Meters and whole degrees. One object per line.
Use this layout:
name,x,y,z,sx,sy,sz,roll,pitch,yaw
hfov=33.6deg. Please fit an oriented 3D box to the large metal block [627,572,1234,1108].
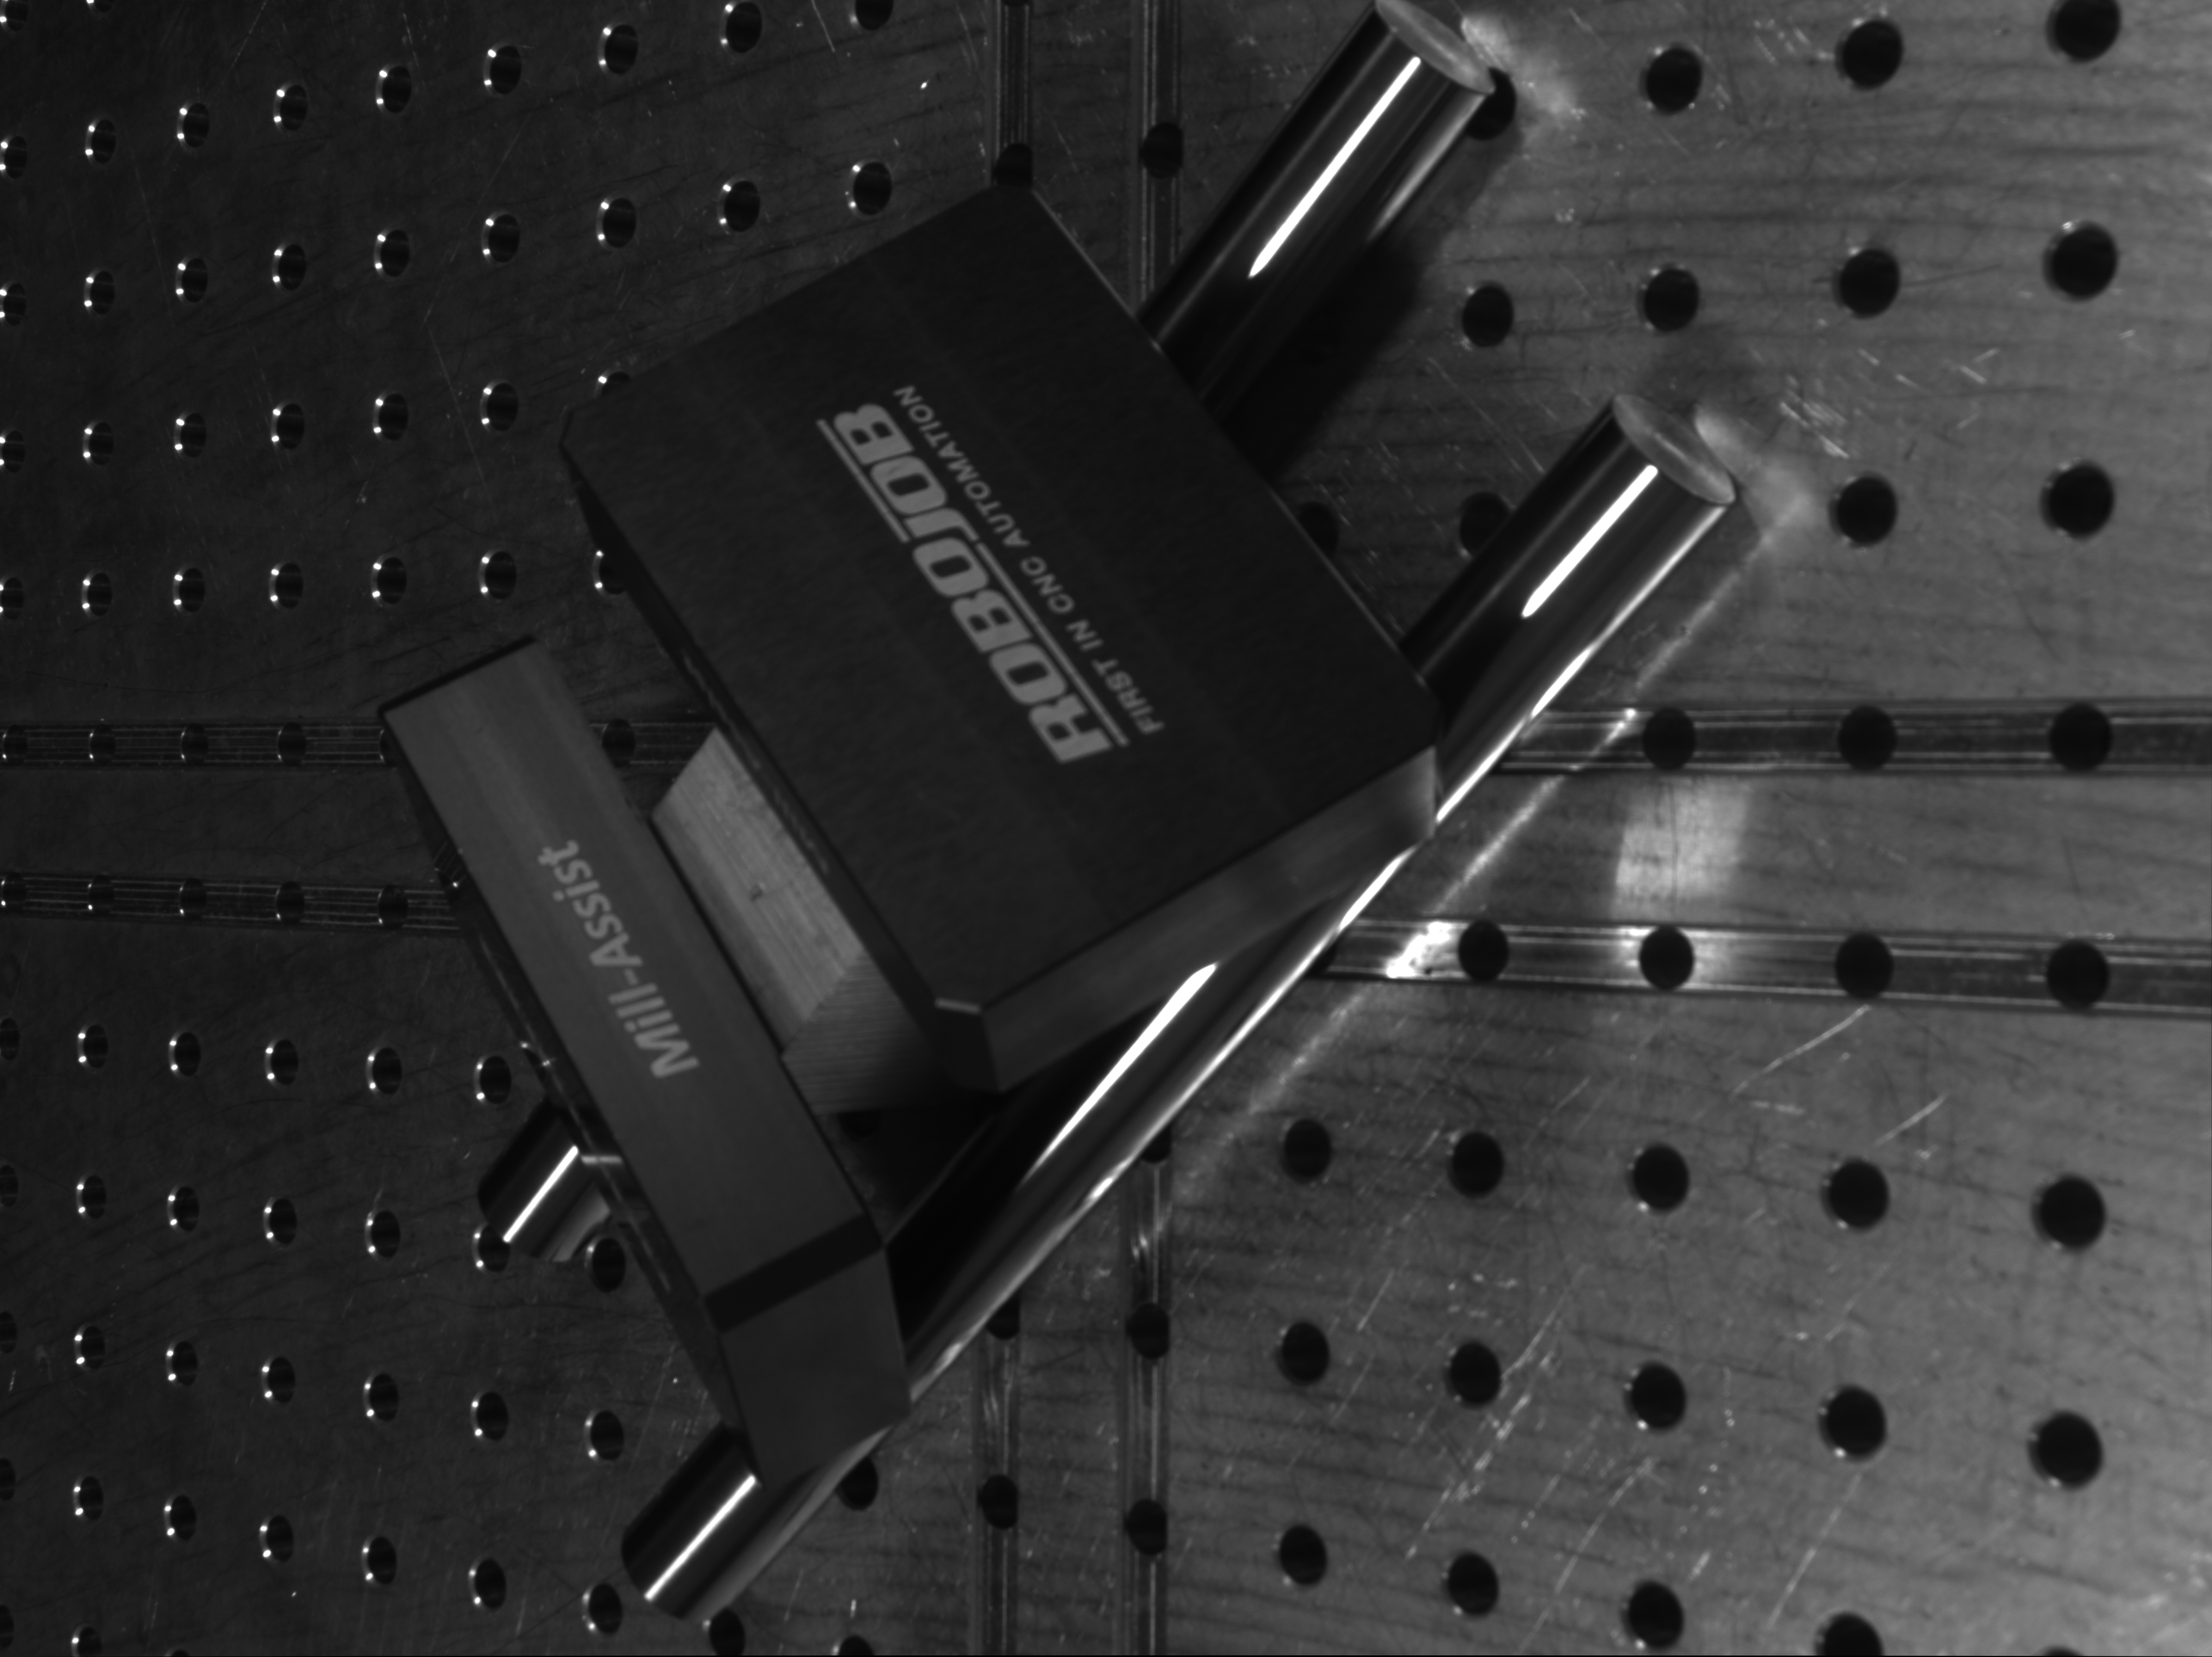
large metal block,-0.028,0.002,0.626,0.080,0.080,0.050,-50,61,28

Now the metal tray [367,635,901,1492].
metal tray,-0.081,0.041,0.636,0.130,0.030,0.090,57,166,24

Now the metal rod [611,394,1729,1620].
metal rod,0.001,0.042,0.639,0.300,0.025,0.025,-50,61,28

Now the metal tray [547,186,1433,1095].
metal tray,-0.019,-0.033,0.585,0.090,0.030,0.130,-30,64,-12

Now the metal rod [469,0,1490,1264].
metal rod,-0.032,-0.025,0.666,0.300,0.025,0.025,-50,61,27
